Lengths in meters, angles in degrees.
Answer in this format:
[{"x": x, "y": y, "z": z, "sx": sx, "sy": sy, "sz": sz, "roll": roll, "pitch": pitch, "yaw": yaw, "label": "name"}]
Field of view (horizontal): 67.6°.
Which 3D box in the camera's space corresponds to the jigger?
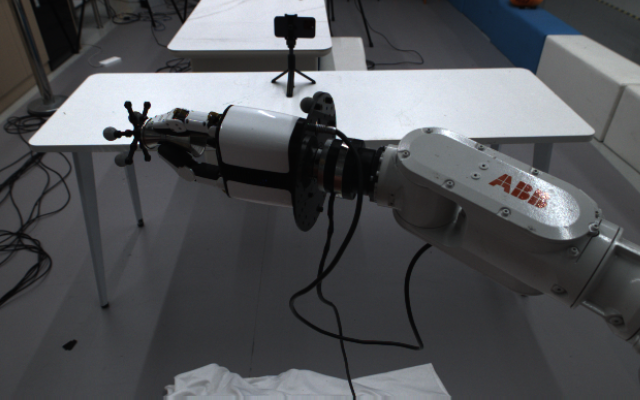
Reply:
[{"x": -0.176, "y": -0.084, "z": 0.602, "sx": 0.071, "sy": 0.043, "sz": 0.043, "roll": 8, "pitch": 35, "yaw": 13, "label": "jigger"}]
